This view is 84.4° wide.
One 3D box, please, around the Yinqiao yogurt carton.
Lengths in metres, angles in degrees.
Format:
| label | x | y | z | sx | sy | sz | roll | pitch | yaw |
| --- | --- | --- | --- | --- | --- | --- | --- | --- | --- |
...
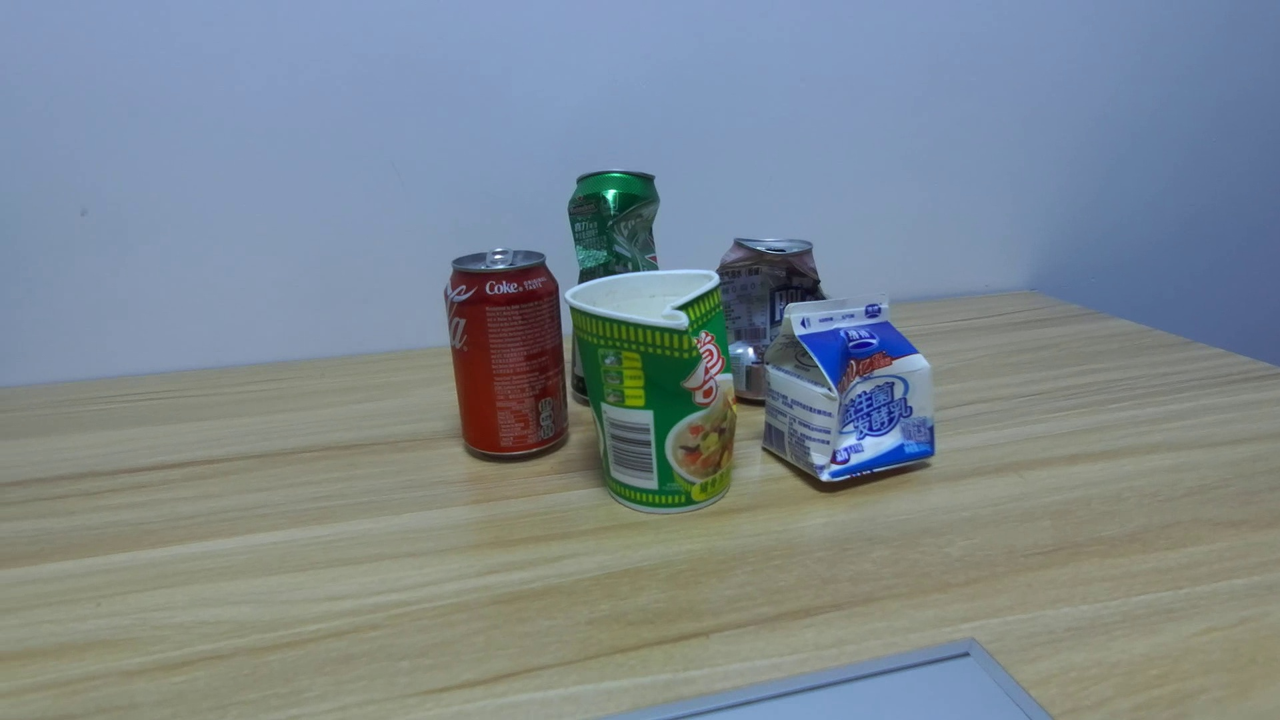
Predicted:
| label | x | y | z | sx | sy | sz | roll | pitch | yaw |
| --- | --- | --- | --- | --- | --- | --- | --- | --- | --- |
| Yinqiao yogurt carton | 0.113 | 0.011 | 0.400 | 0.078 | 0.094 | 0.071 | -9 | 14 | -21 |

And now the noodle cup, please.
| label | x | y | z | sx | sy | sz | roll | pitch | yaw |
| --- | --- | --- | --- | --- | --- | --- | --- | --- | --- |
| noodle cup | 0.012 | 0.015 | 0.374 | 0.086 | 0.109 | 0.094 | 12 | 25 | 35 |

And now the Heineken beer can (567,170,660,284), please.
| label | x | y | z | sx | sy | sz | roll | pitch | yaw |
| --- | --- | --- | --- | --- | --- | --- | --- | --- | --- |
| Heineken beer can | -0.014 | -0.049 | 0.492 | 0.067 | 0.159 | 0.078 | -3 | 7 | -13 |

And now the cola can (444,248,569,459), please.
| label | x | y | z | sx | sy | sz | roll | pitch | yaw |
| --- | --- | --- | --- | --- | --- | --- | --- | --- | --- |
| cola can | -0.080 | -0.005 | 0.429 | 0.068 | 0.120 | 0.068 | -2 | 19 | 1 |

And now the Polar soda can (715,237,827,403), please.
| label | x | y | z | sx | sy | sz | roll | pitch | yaw |
| --- | --- | --- | --- | --- | --- | --- | --- | --- | --- |
| Polar soda can | 0.091 | -0.027 | 0.489 | 0.070 | 0.114 | 0.074 | 22 | 31 | 39 |
